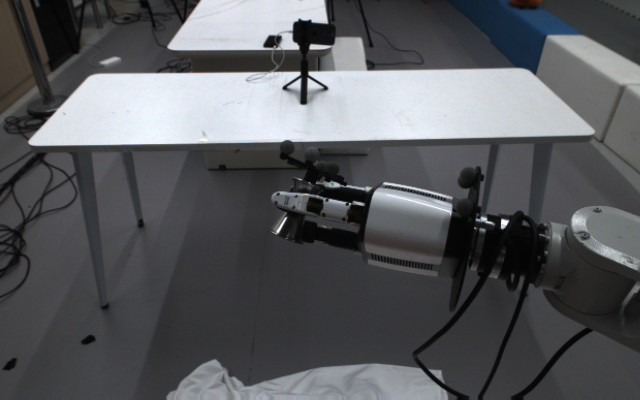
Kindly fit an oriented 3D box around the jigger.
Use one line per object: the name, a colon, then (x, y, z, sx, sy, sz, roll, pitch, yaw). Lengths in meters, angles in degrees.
jigger: (-0.028, 0.011, 0.555, 0.043, 0.071, 0.043, 24, -3, 1)
